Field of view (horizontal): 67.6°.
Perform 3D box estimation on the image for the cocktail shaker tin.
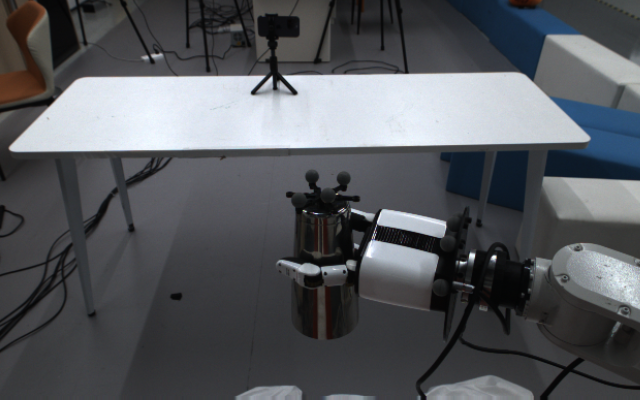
[{"bbox_3d":[0.008,0.079,0.615,0.093,0.170,0.093,-1,26,1],"label":"cocktail shaker tin"}]
